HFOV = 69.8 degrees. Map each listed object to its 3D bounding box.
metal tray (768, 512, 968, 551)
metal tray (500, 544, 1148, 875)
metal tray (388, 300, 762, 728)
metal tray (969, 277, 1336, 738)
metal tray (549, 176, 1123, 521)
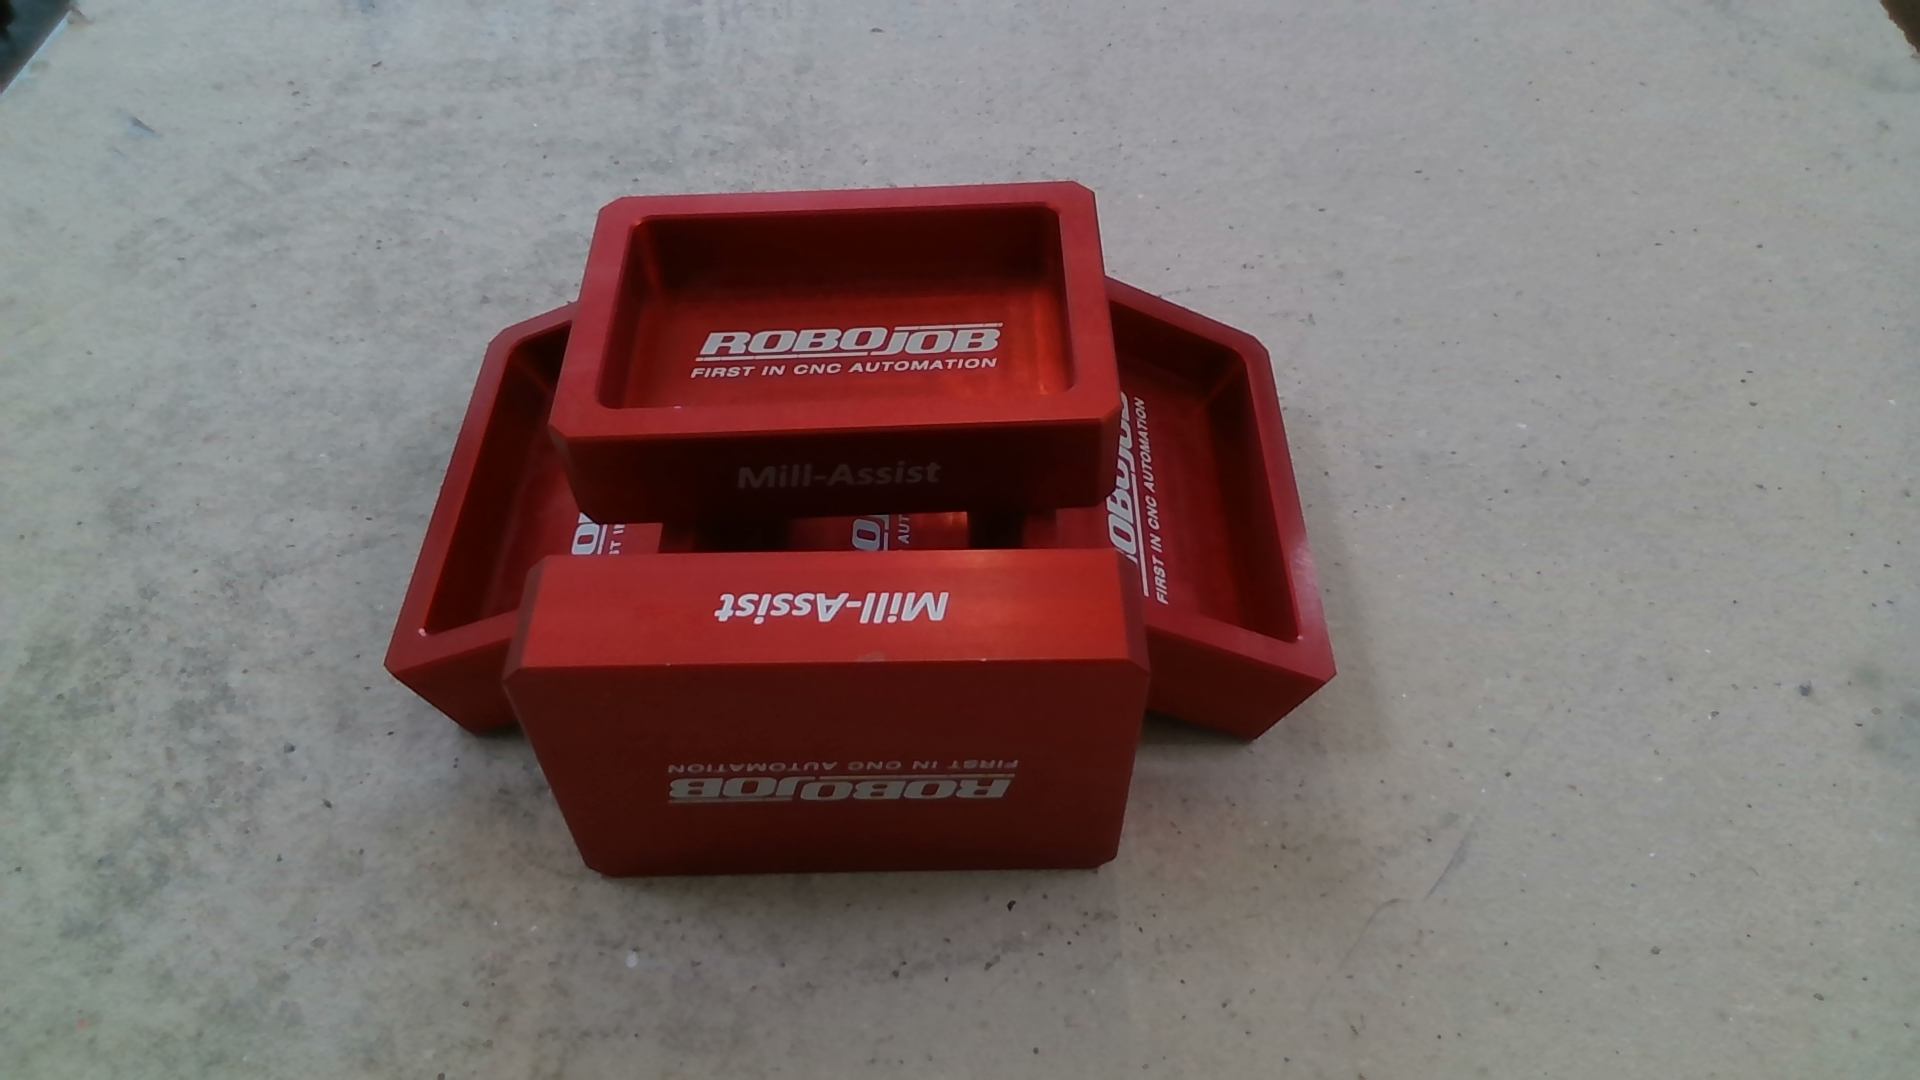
[{"bbox_3d":[-0.022,-0.003,0.391,0.090,0.030,0.130,-2,50,1],"label":"metal tray"},{"bbox_3d":[-0.027,0.042,0.316,0.130,0.090,0.030,-1,50,0],"label":"metal tray"},{"bbox_3d":[-0.099,-0.019,0.384,0.090,0.030,0.130,-17,47,19],"label":"metal tray"},{"bbox_3d":[0.049,-0.017,0.382,0.090,0.030,0.130,18,47,-21],"label":"metal tray"},{"bbox_3d":[-0.028,-0.050,0.348,0.130,0.030,0.090,-2,50,1],"label":"metal tray"}]
